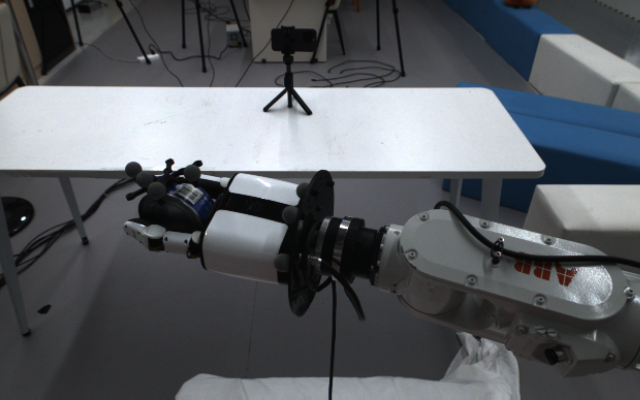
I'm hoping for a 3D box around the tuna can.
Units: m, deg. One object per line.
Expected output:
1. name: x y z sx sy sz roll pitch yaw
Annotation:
1. tuna can: -0.156 0.017 0.547 0.085 0.085 0.034 14 40 16
